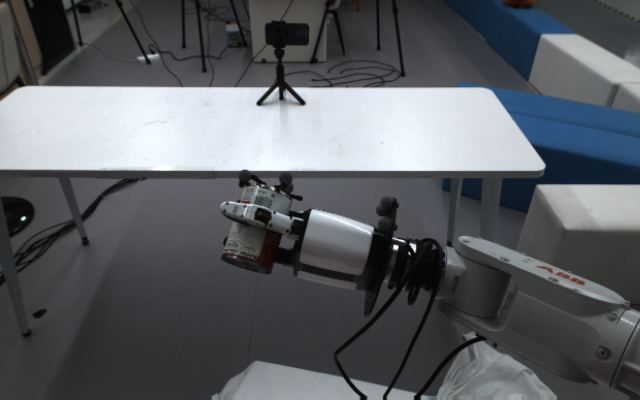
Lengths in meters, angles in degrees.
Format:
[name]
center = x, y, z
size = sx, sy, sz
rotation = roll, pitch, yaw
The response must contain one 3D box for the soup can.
[soup can]
center = -0.080, 0.038, 0.630
size = 0.067, 0.067, 0.101
rotation = 11, 72, 13
